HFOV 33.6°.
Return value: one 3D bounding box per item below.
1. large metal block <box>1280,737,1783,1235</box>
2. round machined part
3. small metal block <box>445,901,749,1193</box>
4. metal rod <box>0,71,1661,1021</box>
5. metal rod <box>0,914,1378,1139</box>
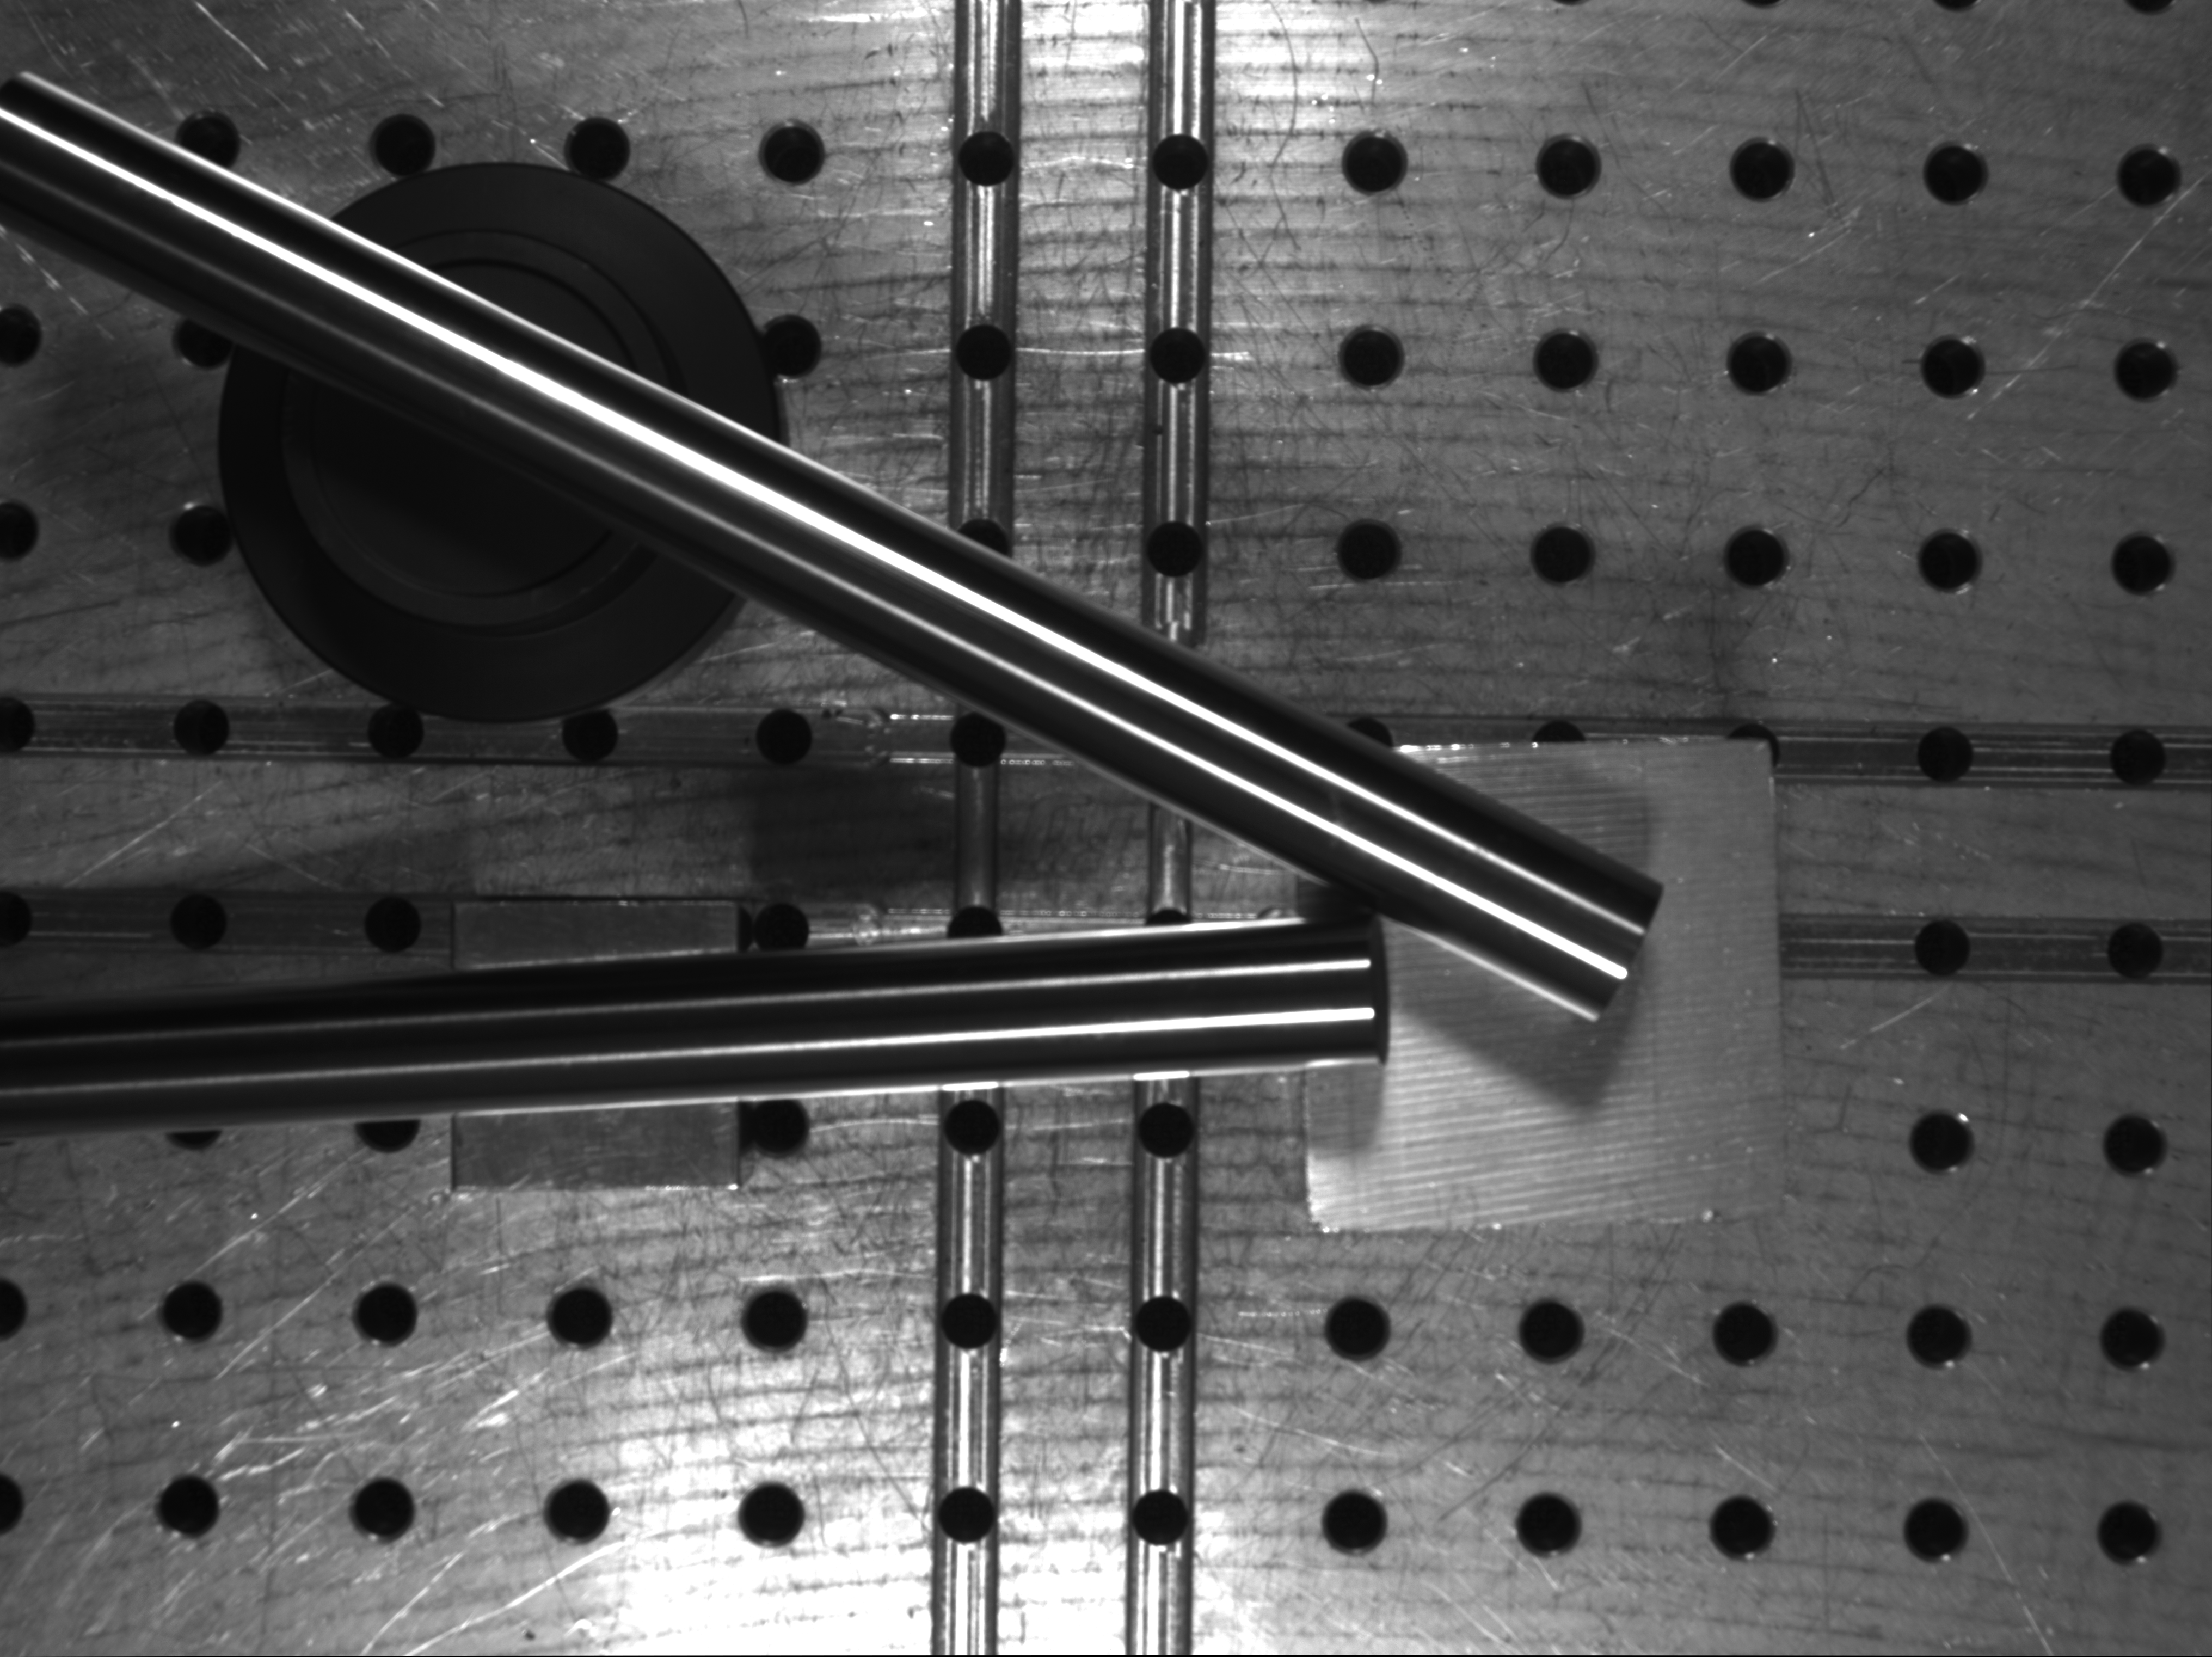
[{"bbox_3d":[0.071,0.026,0.633,0.080,0.050,0.080,-2,90,0],"label":"large metal block"},{"bbox_3d":[-0.107,-0.067,0.638,0.098,0.042,0.098,0,90,0],"label":"round machined part"},{"bbox_3d":[-0.089,0.038,0.647,0.050,0.025,0.050,0,90,0],"label":"small metal block"},{"bbox_3d":[-0.050,-0.047,0.599,0.300,0.025,0.025,26,90,2],"label":"metal rod"},{"bbox_3d":[-0.104,0.036,0.619,0.300,0.025,0.025,-4,90,10],"label":"metal rod"}]
